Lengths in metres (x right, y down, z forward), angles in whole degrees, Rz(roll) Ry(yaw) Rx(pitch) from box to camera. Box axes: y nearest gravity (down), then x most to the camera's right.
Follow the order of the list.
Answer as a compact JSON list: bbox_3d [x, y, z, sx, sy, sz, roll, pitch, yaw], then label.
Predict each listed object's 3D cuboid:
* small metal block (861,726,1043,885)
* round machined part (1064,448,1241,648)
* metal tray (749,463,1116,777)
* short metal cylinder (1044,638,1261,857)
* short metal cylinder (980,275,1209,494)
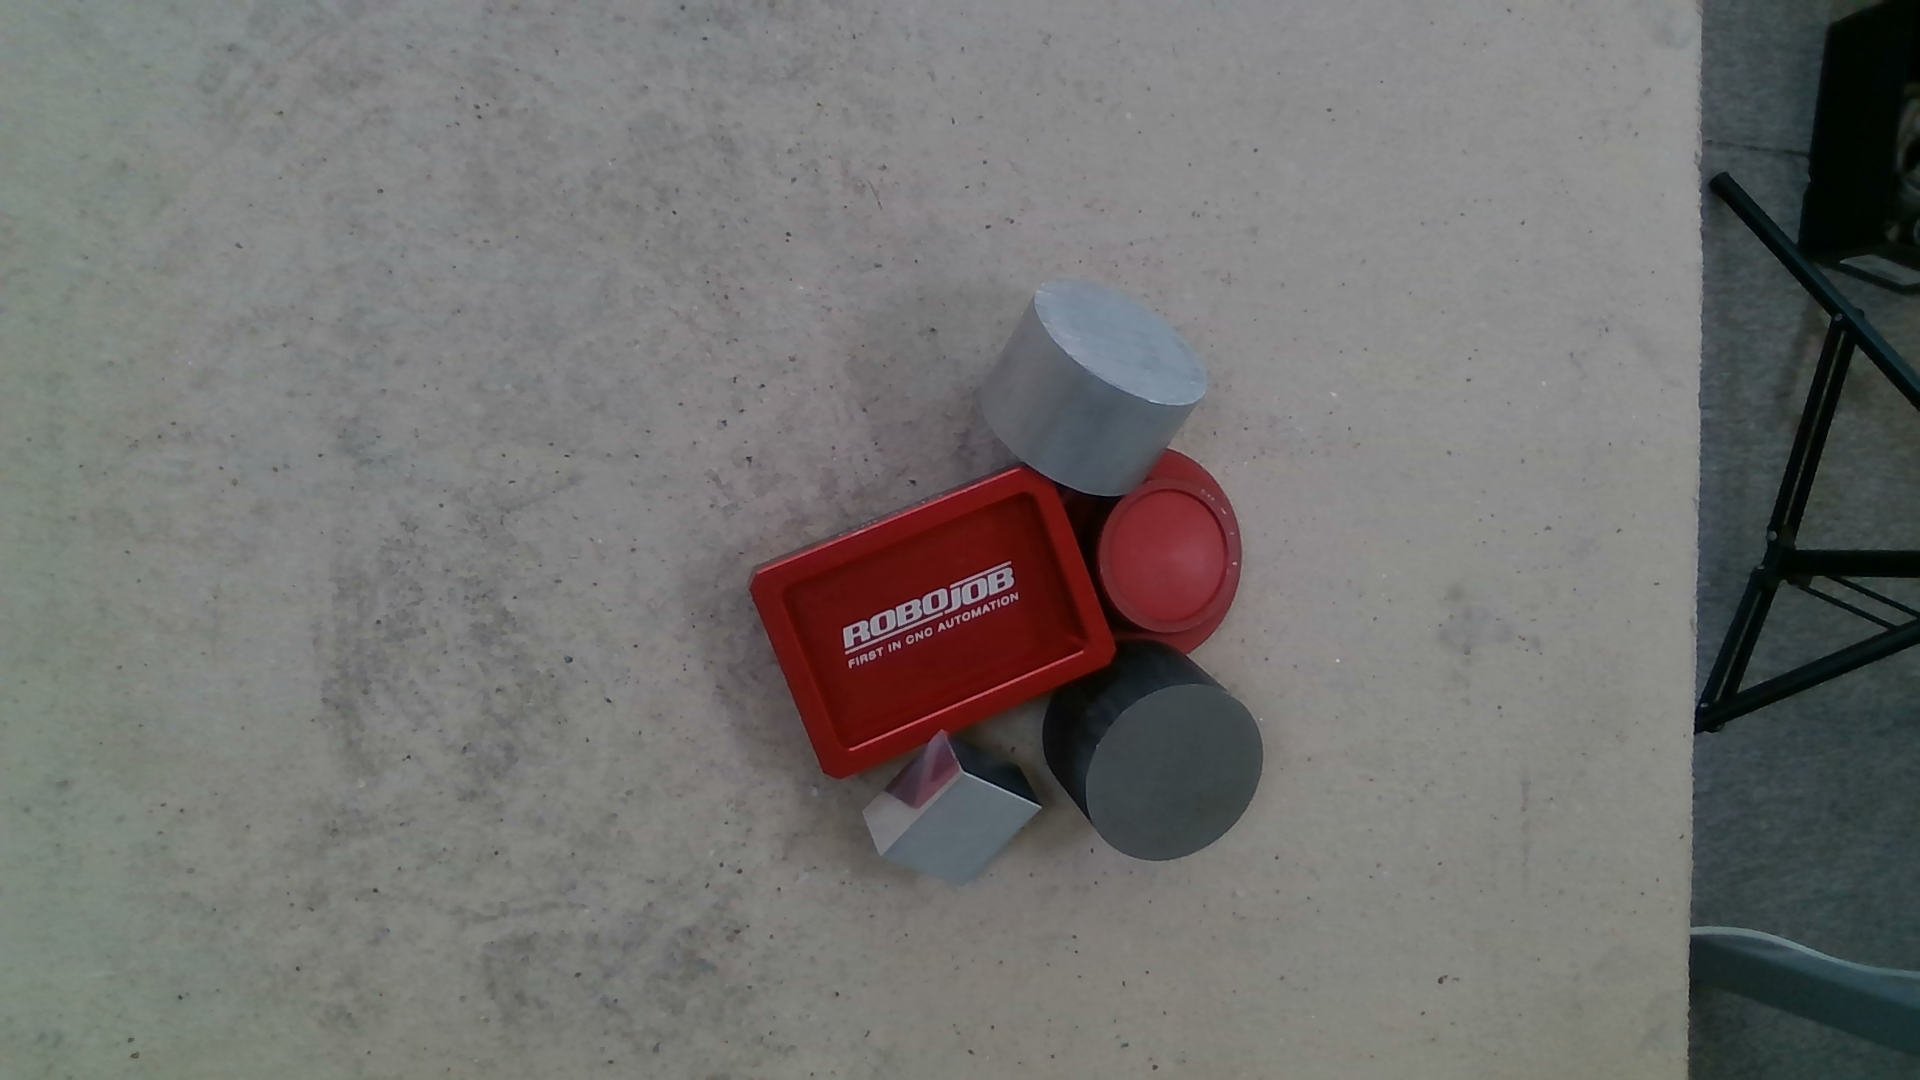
[{"bbox_3d":[-0.003,0.110,0.567,0.050,0.025,0.050,-47,131,13],"label":"small metal block"},{"bbox_3d":[0.082,0.006,0.609,0.098,0.042,0.098,0,90,-20],"label":"round machined part"},{"bbox_3d":[-0.012,0.030,0.568,0.130,0.030,0.090,-22,98,-9],"label":"metal tray"},{"bbox_3d":[0.082,0.088,0.593,0.080,0.050,0.080,-6,110,-17],"label":"short metal cylinder"},{"bbox_3d":[0.055,-0.065,0.570,0.080,0.080,0.050,17,128,-20],"label":"short metal cylinder"}]
